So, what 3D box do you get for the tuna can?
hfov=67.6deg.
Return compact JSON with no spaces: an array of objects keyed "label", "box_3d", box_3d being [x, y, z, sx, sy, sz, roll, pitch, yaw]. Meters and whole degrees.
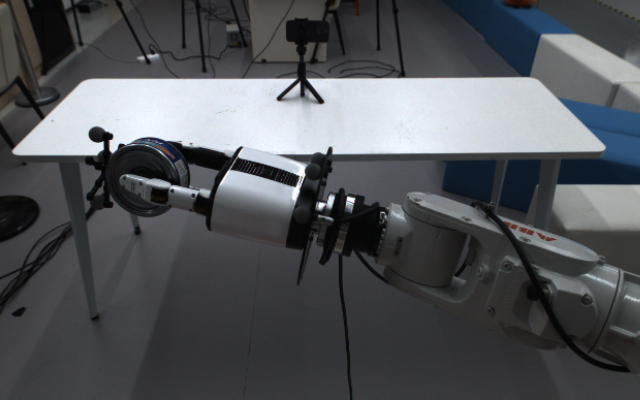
[{"label":"tuna can","box_3d":[-0.190,-0.025,0.542,0.085,0.085,0.034,4,19,3]}]
